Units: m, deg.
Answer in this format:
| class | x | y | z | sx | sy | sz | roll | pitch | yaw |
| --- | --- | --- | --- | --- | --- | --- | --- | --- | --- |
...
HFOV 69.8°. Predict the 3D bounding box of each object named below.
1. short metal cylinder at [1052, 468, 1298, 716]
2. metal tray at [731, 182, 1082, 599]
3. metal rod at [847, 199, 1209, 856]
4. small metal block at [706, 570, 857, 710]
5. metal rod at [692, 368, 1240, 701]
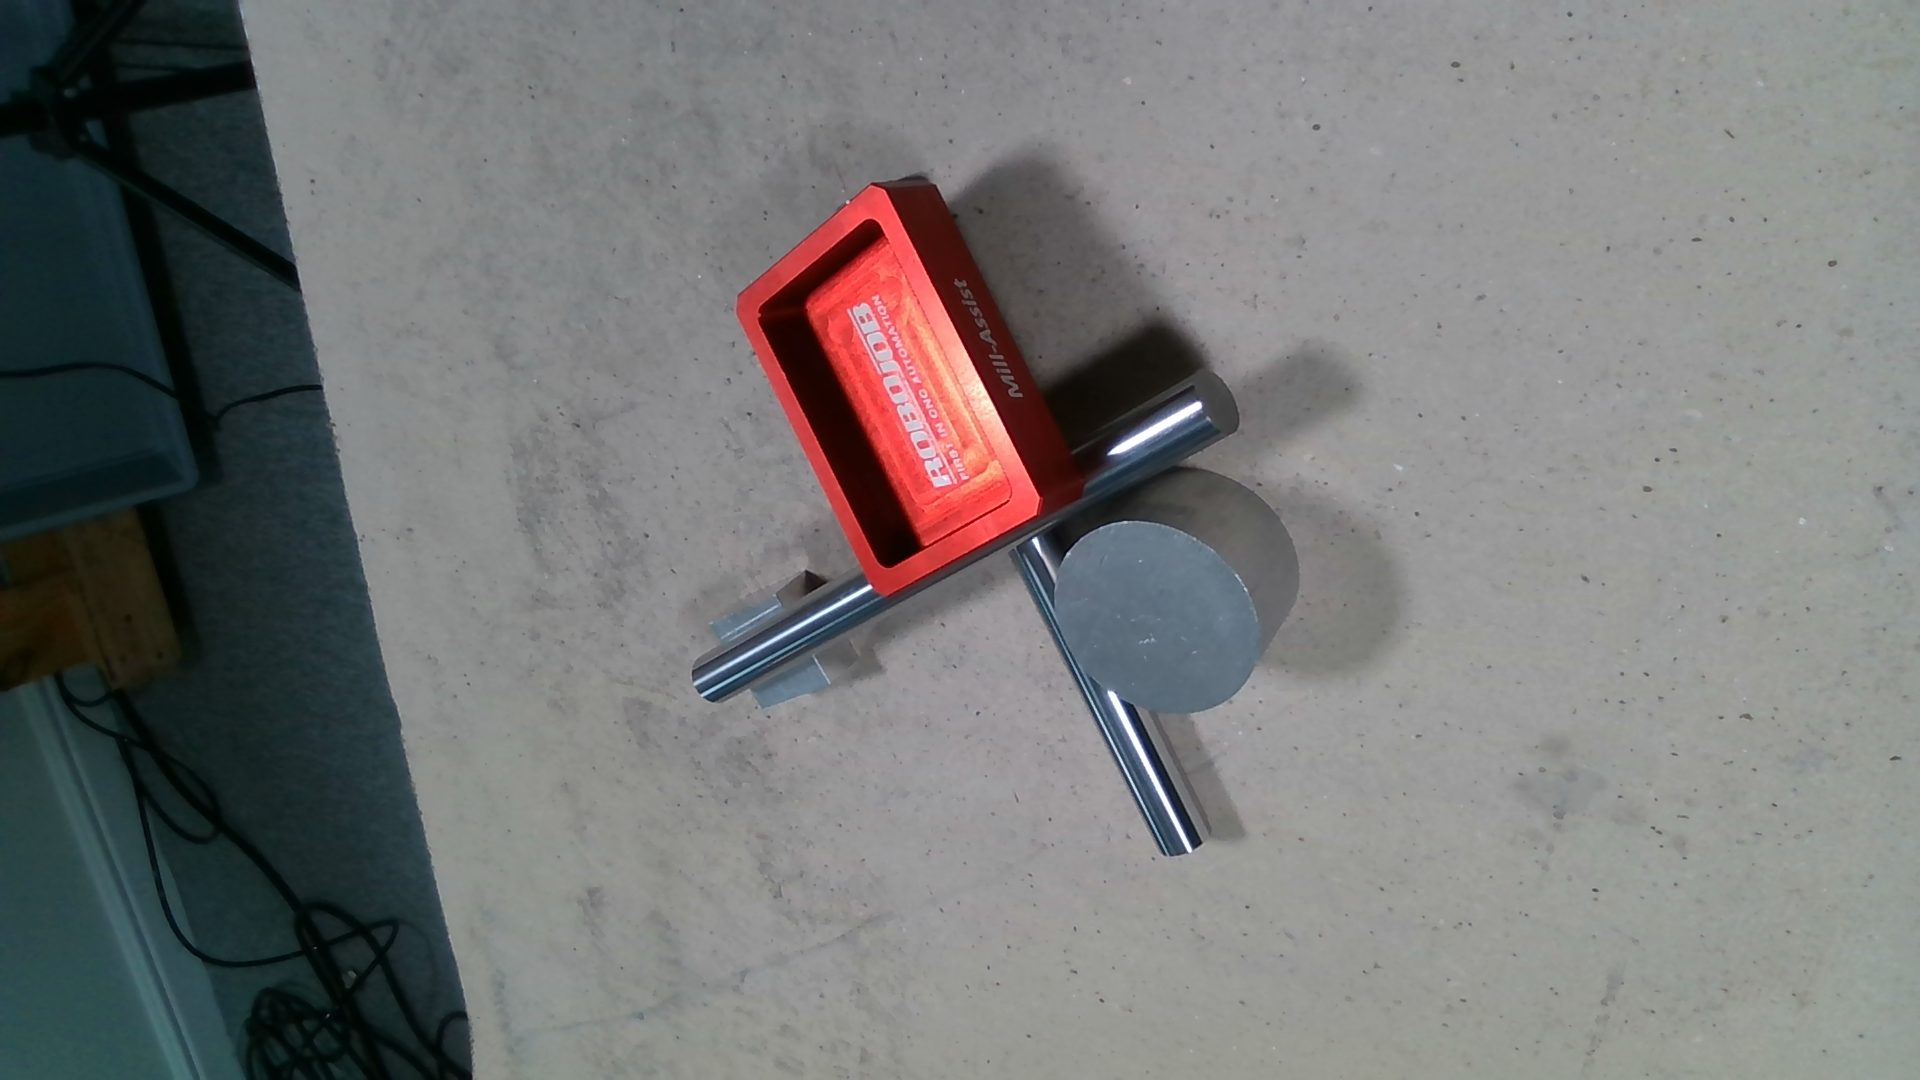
| class | x | y | z | sx | sy | sz | roll | pitch | yaw |
| --- | --- | --- | --- | --- | --- | --- | --- | --- | --- |
| short metal cylinder | 0.082 | 0.019 | 0.523 | 0.080 | 0.050 | 0.080 | 14 | 122 | 25 |
| metal tray | -0.022 | -0.054 | 0.511 | 0.090 | 0.030 | 0.130 | -29 | 86 | 38 |
| metal rod | 0.029 | -0.003 | 0.561 | 0.025 | 0.025 | 0.300 | -18 | 105 | 37 |
| small metal block | -0.085 | 0.048 | 0.659 | 0.050 | 0.025 | 0.050 | -22 | 102 | 38 |
| metal rod | -0.015 | 0.009 | 0.563 | 0.300 | 0.025 | 0.025 | -29 | 98 | 39 |
